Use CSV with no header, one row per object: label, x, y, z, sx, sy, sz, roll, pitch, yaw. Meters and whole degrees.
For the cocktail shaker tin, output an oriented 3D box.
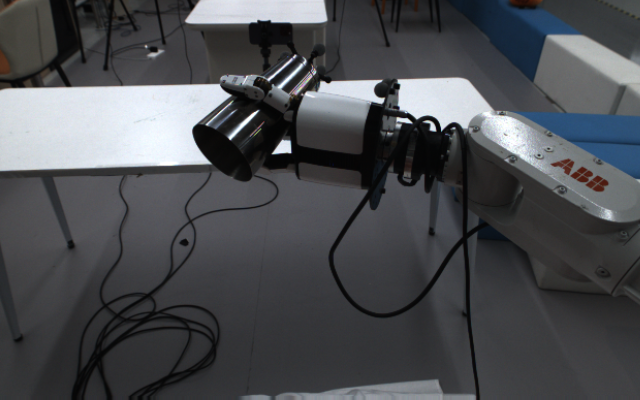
cocktail shaker tin,-0.076,-0.119,0.626,0.093,0.093,0.170,23,57,27
